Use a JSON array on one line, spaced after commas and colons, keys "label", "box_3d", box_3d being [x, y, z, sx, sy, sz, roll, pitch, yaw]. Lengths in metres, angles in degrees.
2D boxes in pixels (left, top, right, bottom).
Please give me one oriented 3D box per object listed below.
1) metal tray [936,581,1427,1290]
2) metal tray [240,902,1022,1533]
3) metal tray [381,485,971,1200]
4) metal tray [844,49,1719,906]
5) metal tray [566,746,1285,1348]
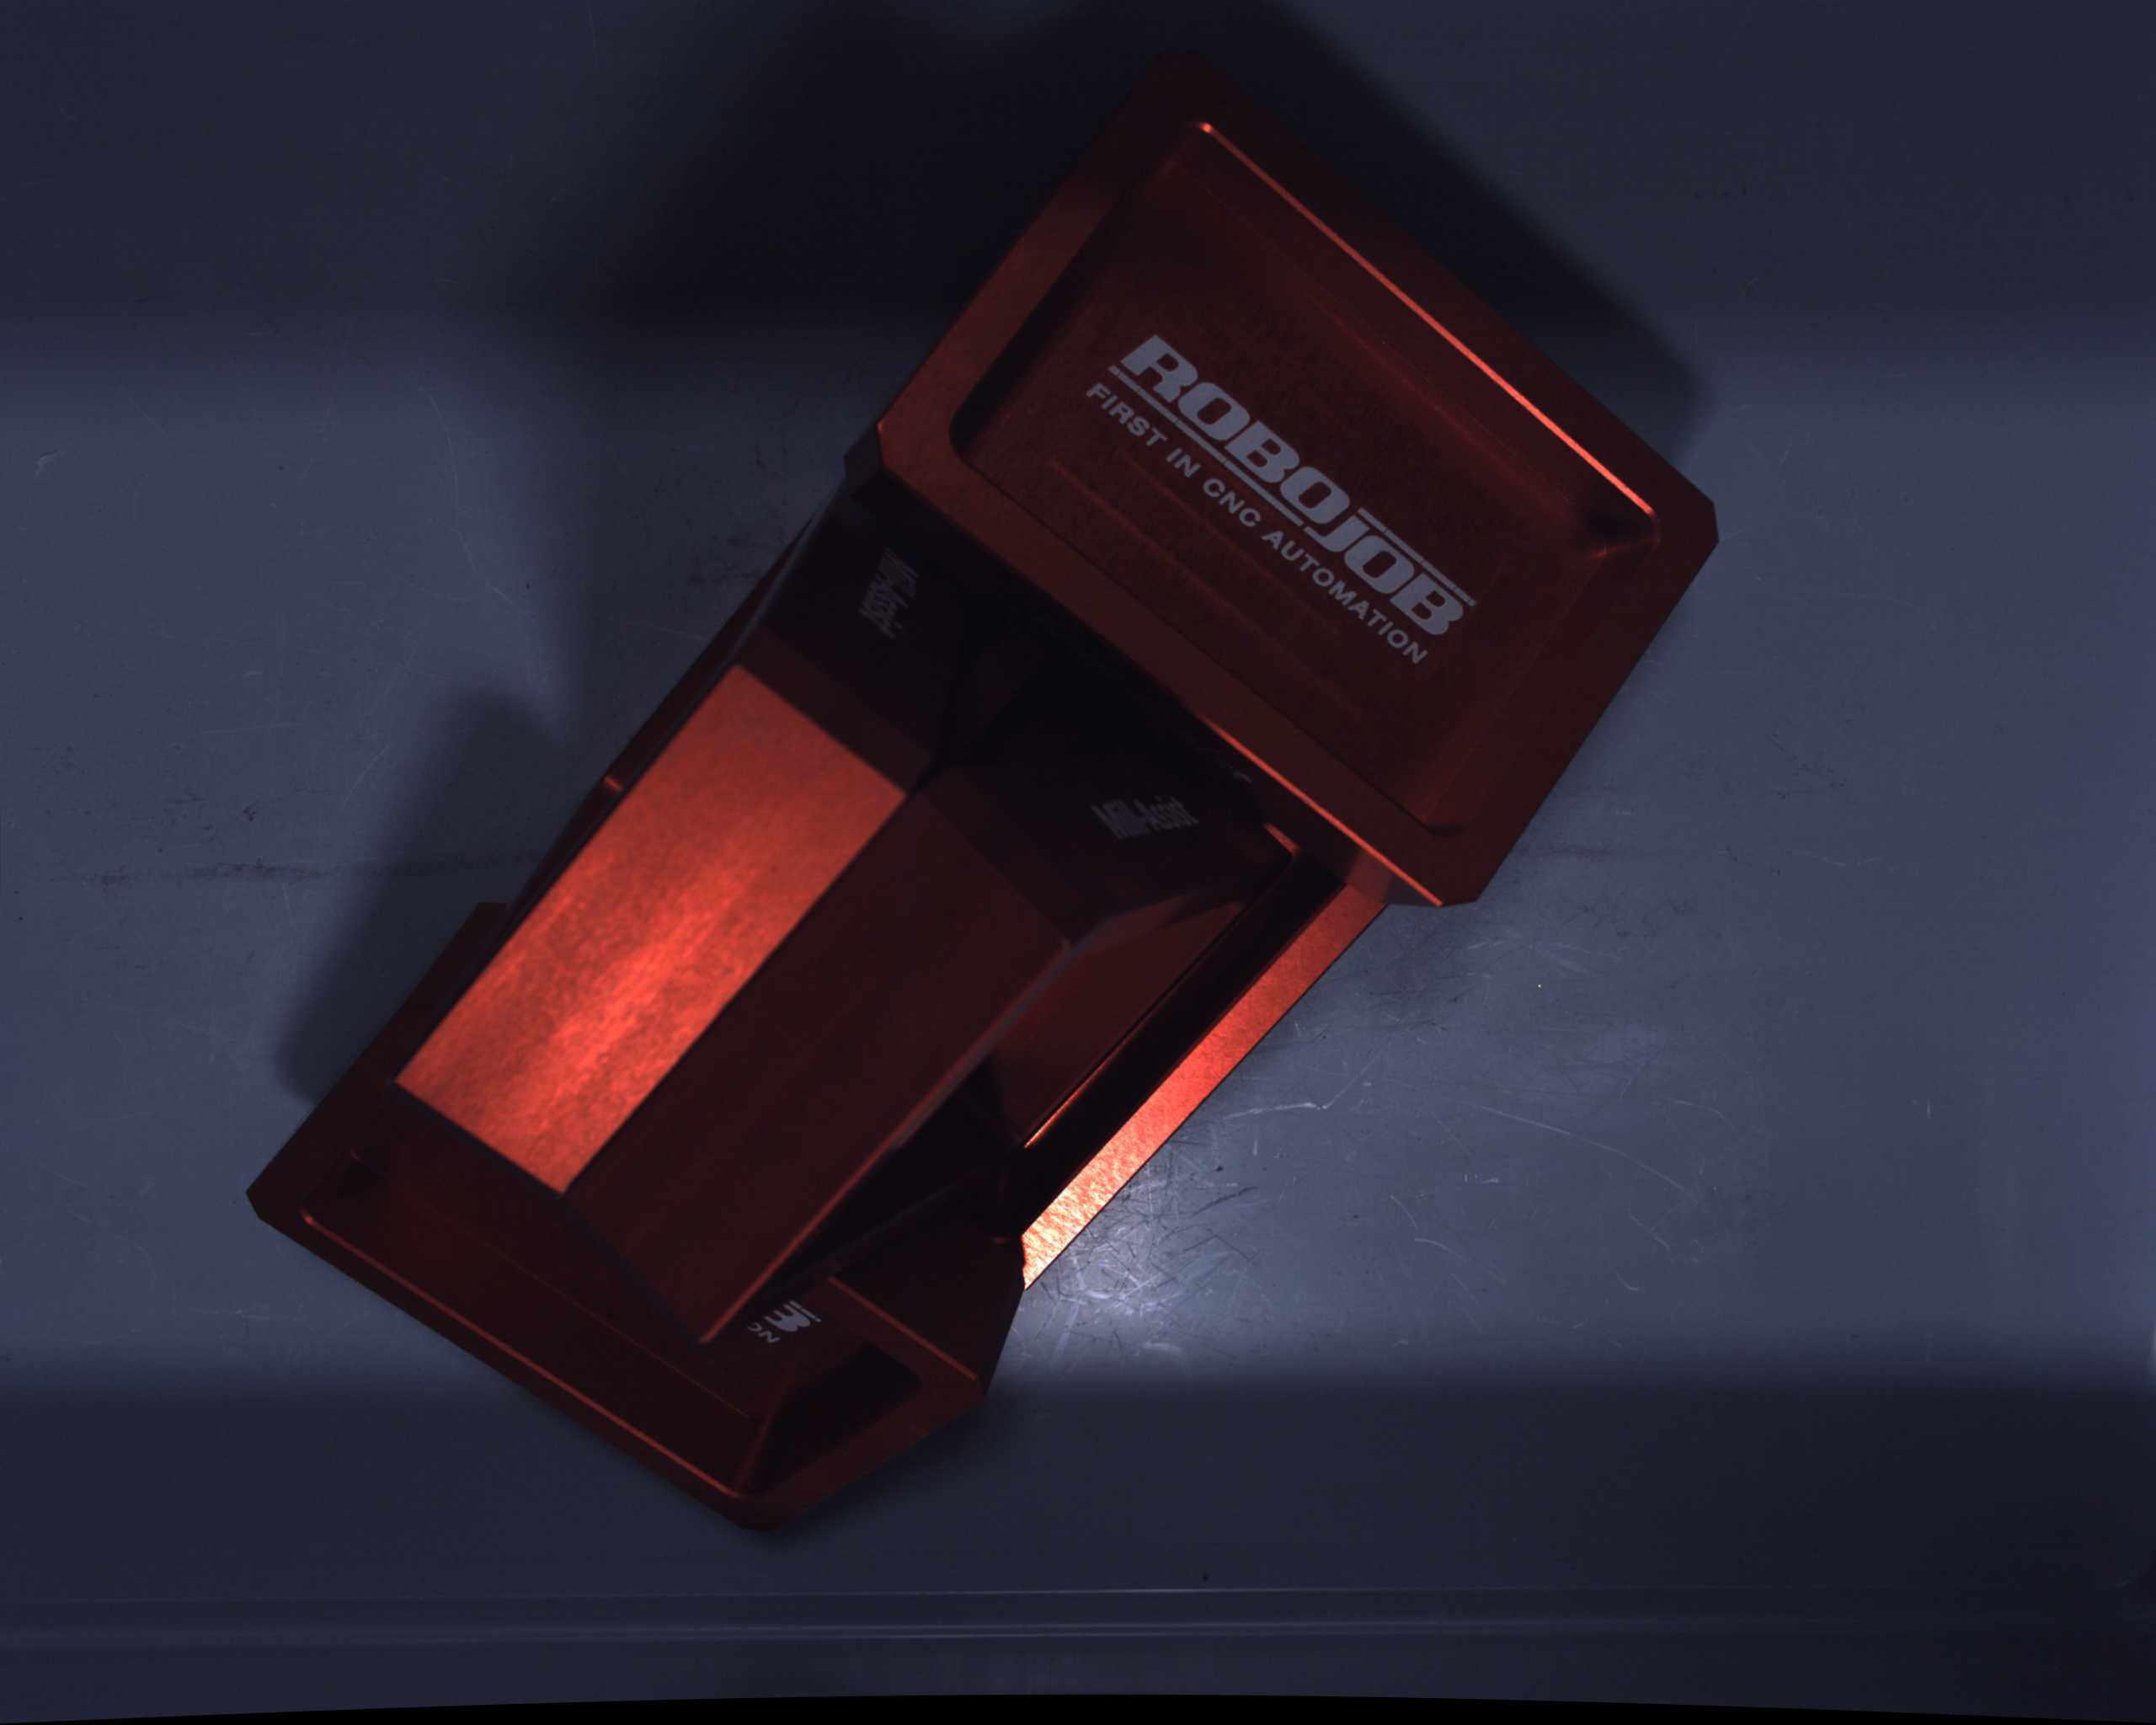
[{"label": "metal tray", "box_3d": [-0.006, 0.012, 0.411, 0.090, 0.030, 0.130, 37, 105, -13]}, {"label": "metal tray", "box_3d": [-0.089, 0.075, 0.415, 0.130, 0.030, 0.090, 38, 130, -14]}, {"label": "metal tray", "box_3d": [-0.060, -0.012, 0.347, 0.030, 0.130, 0.090, 39, 106, -13]}, {"label": "metal tray", "box_3d": [0.037, -0.064, 0.365, 0.130, 0.030, 0.090, 37, 80, -13]}, {"label": "metal tray", "box_3d": [-0.018, 0.024, 0.349, 0.030, 0.130, 0.090, 45, 105, 9]}]
